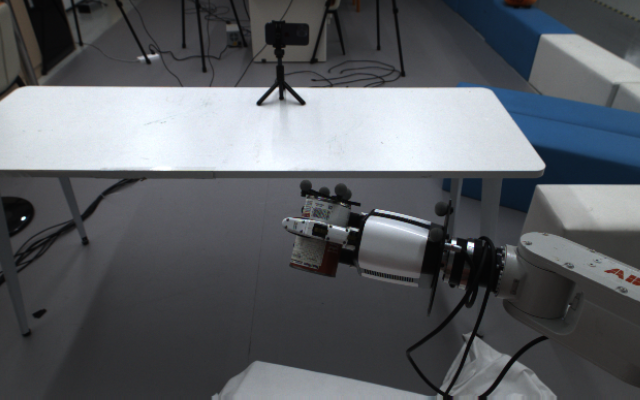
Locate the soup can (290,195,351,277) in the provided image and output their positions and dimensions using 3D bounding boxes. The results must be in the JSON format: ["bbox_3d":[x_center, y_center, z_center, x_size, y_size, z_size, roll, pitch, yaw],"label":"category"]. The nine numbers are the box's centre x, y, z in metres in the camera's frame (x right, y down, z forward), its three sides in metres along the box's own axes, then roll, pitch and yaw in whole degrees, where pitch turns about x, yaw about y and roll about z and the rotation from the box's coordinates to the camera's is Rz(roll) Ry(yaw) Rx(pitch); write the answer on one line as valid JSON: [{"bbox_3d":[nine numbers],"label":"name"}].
[{"bbox_3d":[0.002,0.052,0.677,0.067,0.101,0.067,13,-6,1],"label":"soup can"}]
